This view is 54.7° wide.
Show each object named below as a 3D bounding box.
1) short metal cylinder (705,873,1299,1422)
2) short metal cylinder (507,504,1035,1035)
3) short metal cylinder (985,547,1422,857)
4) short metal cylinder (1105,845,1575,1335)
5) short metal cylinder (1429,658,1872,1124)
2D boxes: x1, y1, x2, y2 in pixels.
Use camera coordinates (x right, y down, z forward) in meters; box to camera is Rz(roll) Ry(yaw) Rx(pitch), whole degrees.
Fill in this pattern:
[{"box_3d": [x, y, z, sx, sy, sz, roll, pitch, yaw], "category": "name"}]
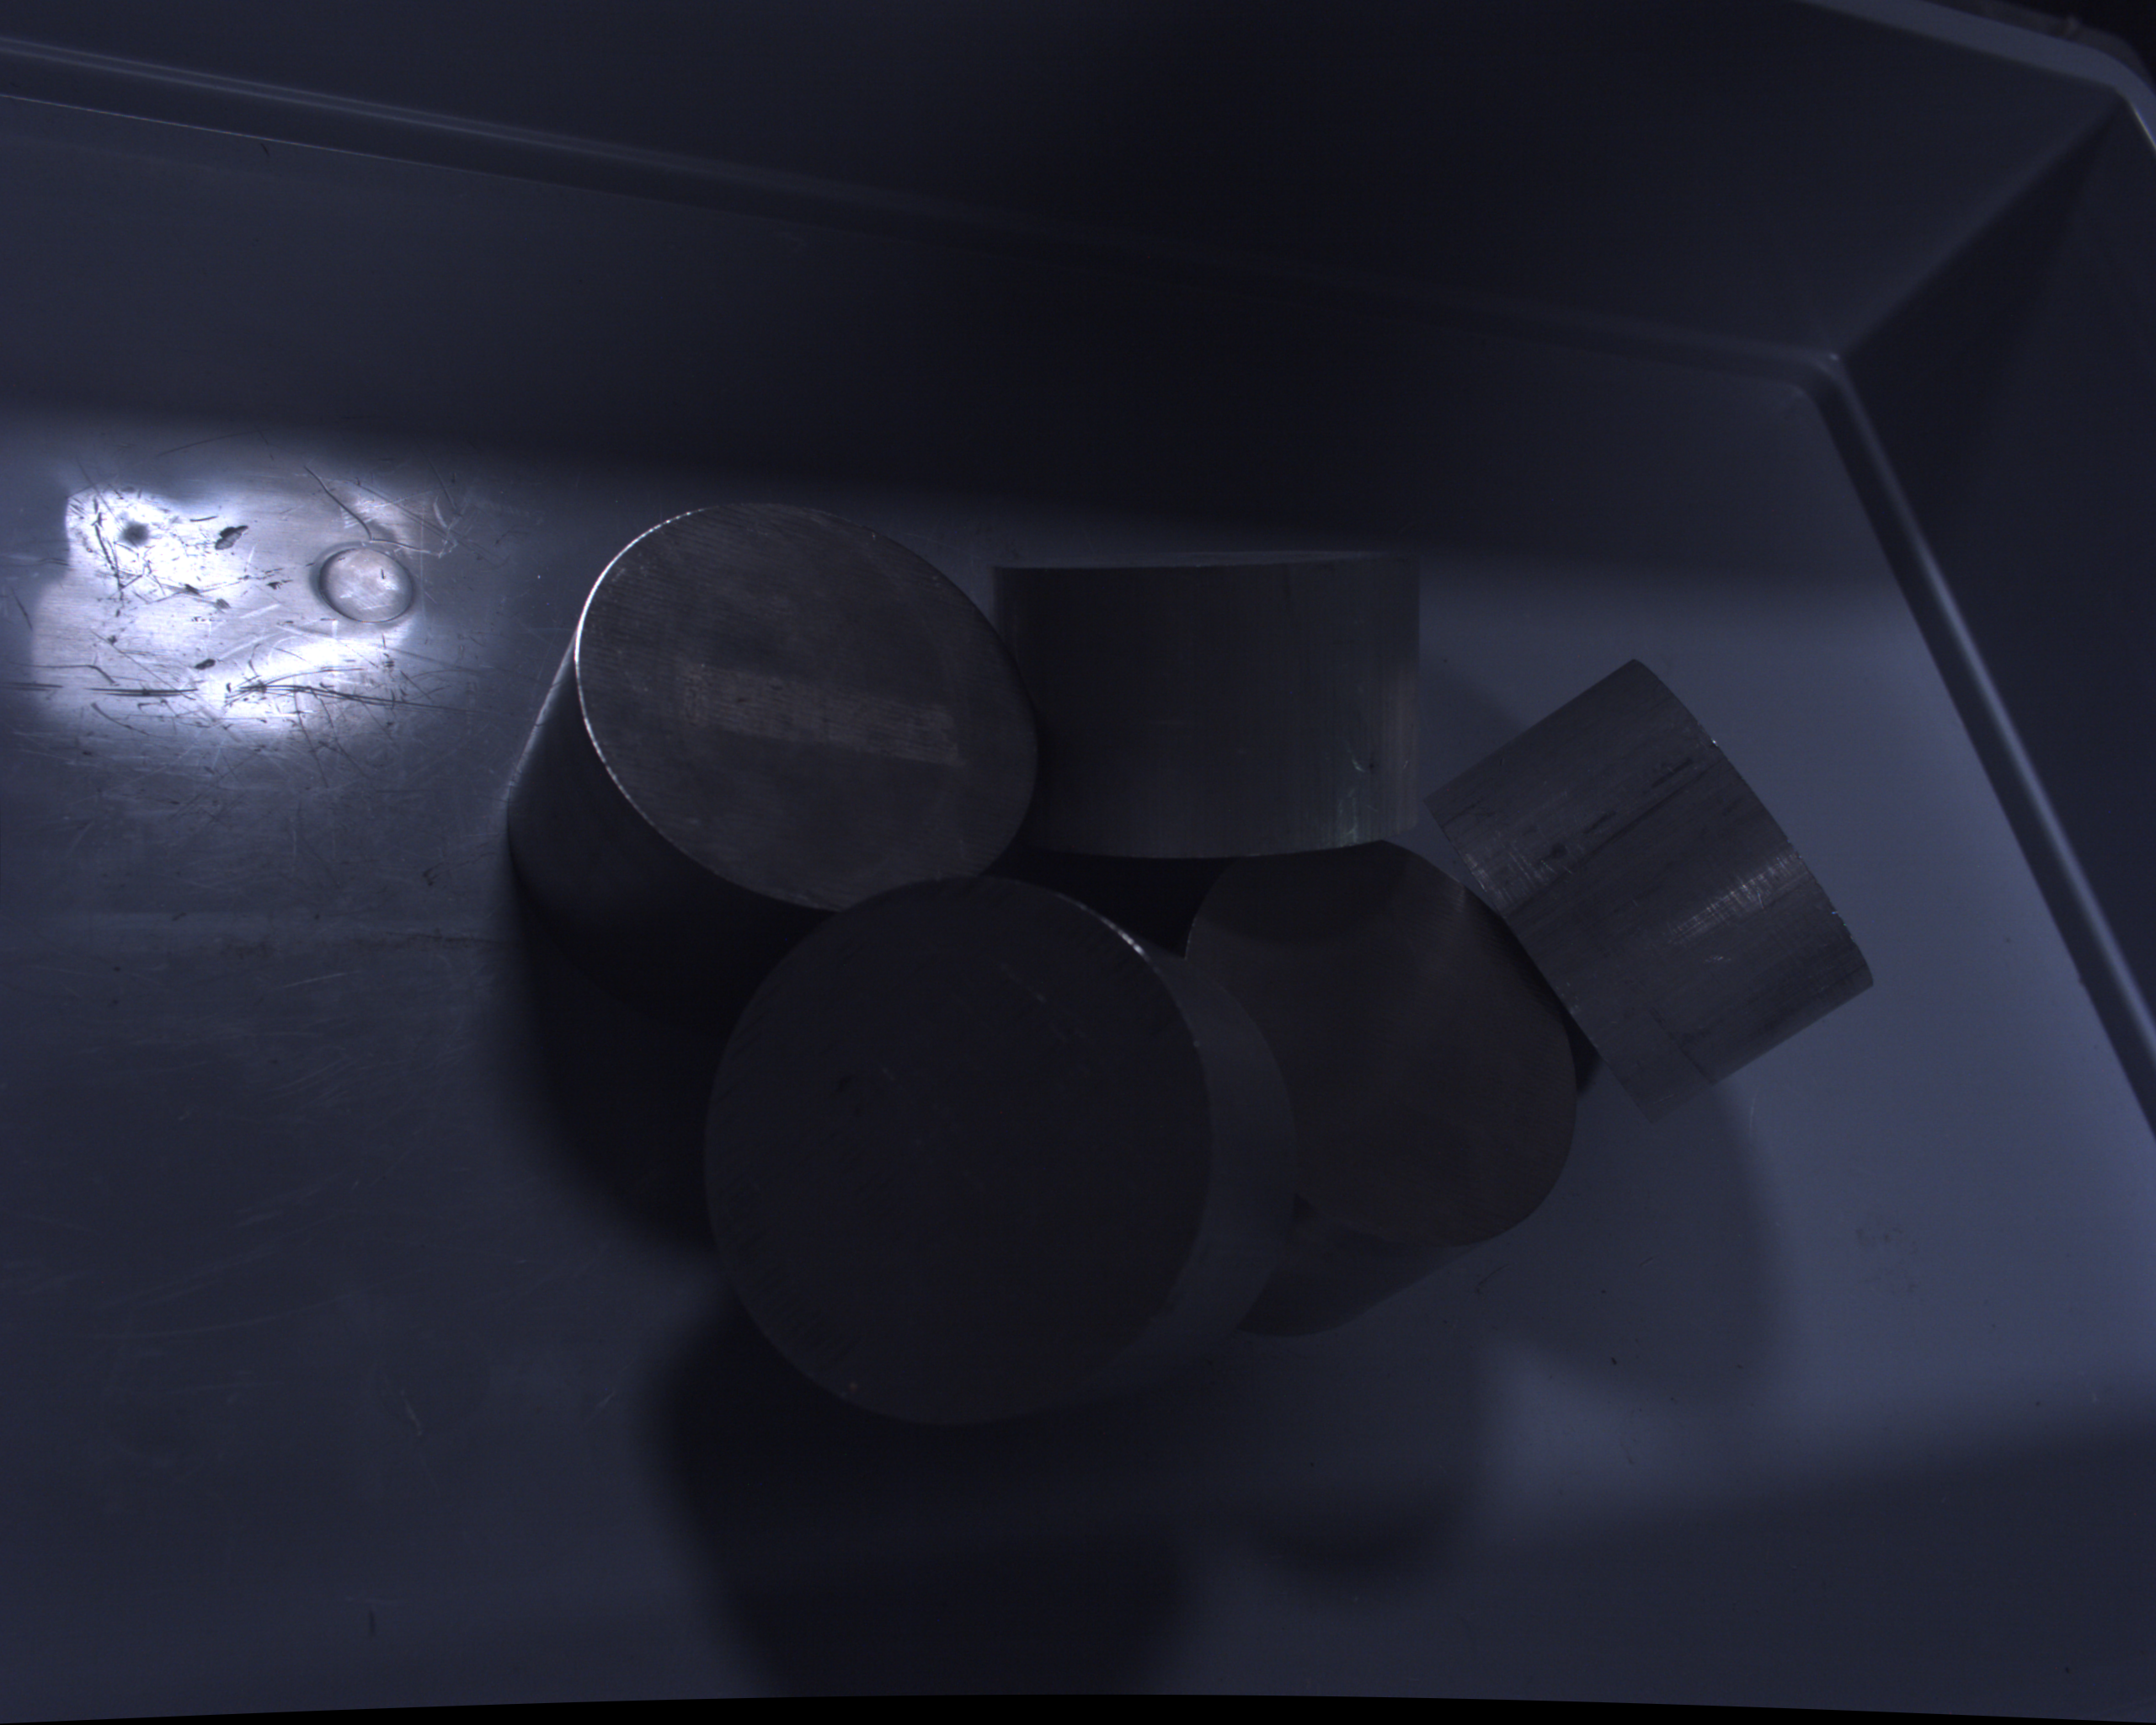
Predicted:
[{"box_3d": [-0.010, 0.045, 0.328, 0.080, 0.080, 0.050, 66, 12, 18], "category": "short metal cylinder"}, {"box_3d": [-0.055, -0.016, 0.368, 0.081, 0.050, 0.080, 14, 56, -21], "category": "short metal cylinder"}, {"box_3d": [0.024, -0.033, 0.393, 0.081, 0.080, 0.050, -8, 102, -32], "category": "short metal cylinder"}, {"box_3d": [0.044, 0.042, 0.388, 0.081, 0.050, 0.080, 14, 56, -21], "category": "short metal cylinder"}, {"box_3d": [0.114, 0.006, 0.421, 0.080, 0.050, 0.080, 53, 10, -13], "category": "short metal cylinder"}]
